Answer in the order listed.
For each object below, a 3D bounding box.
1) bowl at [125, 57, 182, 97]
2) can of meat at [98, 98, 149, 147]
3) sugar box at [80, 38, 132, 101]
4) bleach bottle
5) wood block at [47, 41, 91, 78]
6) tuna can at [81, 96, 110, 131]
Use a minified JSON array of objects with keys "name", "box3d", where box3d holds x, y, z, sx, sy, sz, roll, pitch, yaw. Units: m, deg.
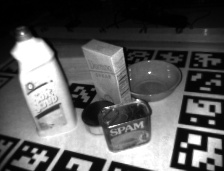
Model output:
[{"name":"bowl","box3d":[0.105,-0.019,0.583,0.161,0.055,0.161,-9,37,8]},{"name":"can of meat","box3d":[0.028,0.078,0.464,0.102,0.084,0.057,-13,35,-4]},{"name":"sugar box","box3d":[-0.008,-0.024,0.513,0.091,0.178,0.045,21,51,39]},{"name":"bleach bottle","box3d":[-0.157,-0.009,0.474,0.102,0.253,0.067,-11,38,1]},{"name":"wood block","box3d":[-0.121,-0.085,0.694,0.205,0.090,0.091,0,44,13]},{"name":"tuna can","box3d":[-0.039,0.067,0.522,0.085,0.034,0.085,-7,41,7]}]
